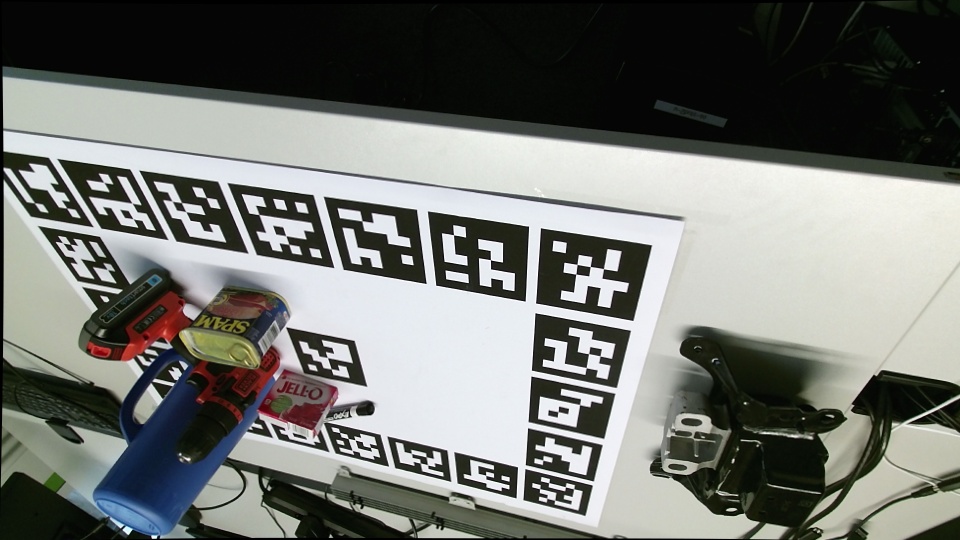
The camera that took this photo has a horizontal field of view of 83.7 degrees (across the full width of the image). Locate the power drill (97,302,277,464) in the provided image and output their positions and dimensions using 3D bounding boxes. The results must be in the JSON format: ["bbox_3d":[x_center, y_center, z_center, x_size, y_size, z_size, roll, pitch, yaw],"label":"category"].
[{"bbox_3d":[-0.389,0.142,0.701,0.187,0.184,0.057,39,127,-6],"label":"power drill"}]

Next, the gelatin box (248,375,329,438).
[{"bbox_3d":[-0.279,0.199,0.785,0.089,0.073,0.030,18,127,6],"label":"gelatin box"}]

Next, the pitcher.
[{"bbox_3d":[-0.439,0.229,0.760,0.189,0.241,0.133,29,128,-15],"label":"pitcher"}]

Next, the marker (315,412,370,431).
[{"bbox_3d":[-0.219,0.235,0.826,0.121,0.019,0.019,-15,121,27],"label":"marker"}]

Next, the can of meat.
[{"bbox_3d":[-0.312,0.074,0.681,0.102,0.083,0.058,8,132,13],"label":"can of meat"}]
